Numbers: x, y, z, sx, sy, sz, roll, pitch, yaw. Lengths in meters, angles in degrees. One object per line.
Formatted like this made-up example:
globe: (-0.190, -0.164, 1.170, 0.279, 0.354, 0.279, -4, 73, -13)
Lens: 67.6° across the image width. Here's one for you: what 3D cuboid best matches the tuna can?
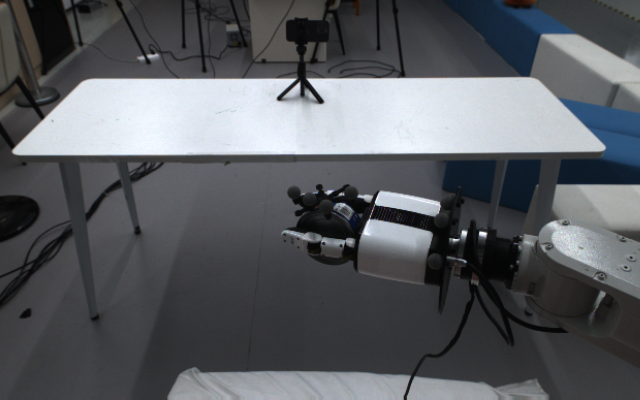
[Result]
tuna can: (0.017, 0.046, 0.635, 0.085, 0.085, 0.034, 15, 34, 17)
